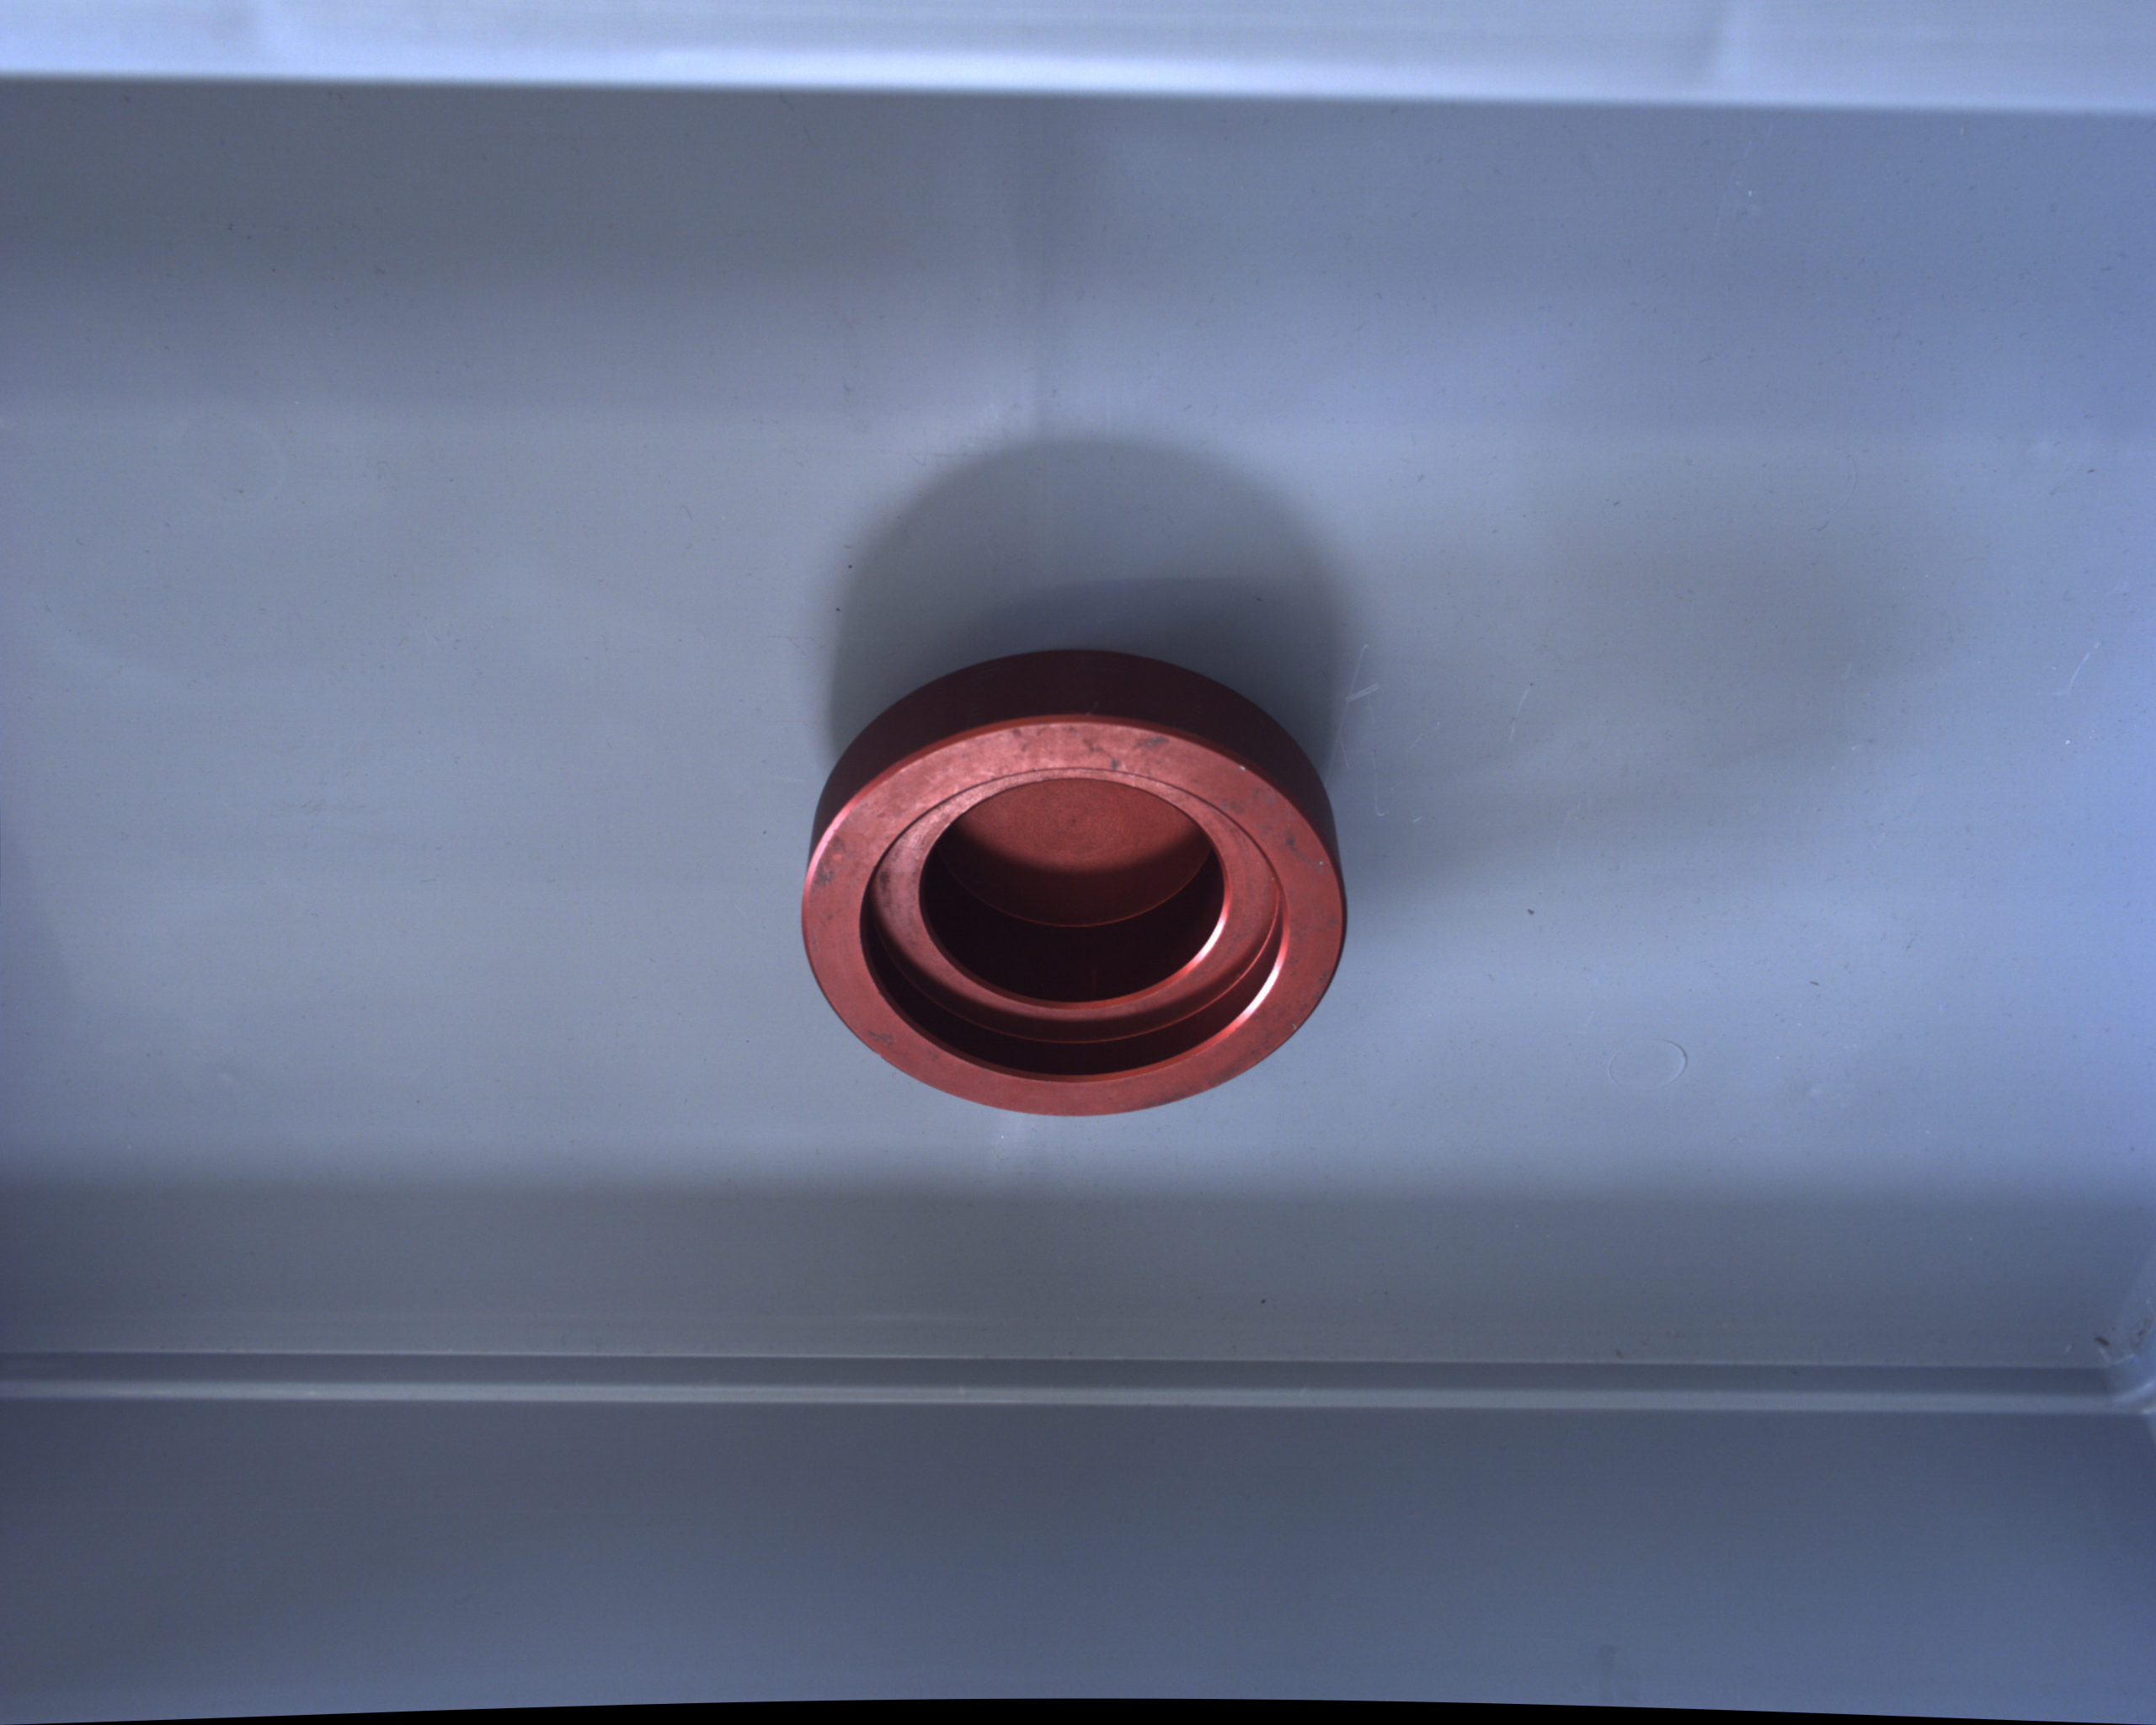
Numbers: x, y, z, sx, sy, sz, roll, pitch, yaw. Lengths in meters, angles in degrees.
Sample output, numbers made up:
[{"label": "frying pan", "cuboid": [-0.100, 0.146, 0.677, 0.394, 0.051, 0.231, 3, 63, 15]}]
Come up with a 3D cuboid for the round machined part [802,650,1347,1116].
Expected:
[{"label": "round machined part", "cuboid": [-0.001, 0.000, 0.393, 0.099, 0.042, 0.097, 0, 130, 0]}]
